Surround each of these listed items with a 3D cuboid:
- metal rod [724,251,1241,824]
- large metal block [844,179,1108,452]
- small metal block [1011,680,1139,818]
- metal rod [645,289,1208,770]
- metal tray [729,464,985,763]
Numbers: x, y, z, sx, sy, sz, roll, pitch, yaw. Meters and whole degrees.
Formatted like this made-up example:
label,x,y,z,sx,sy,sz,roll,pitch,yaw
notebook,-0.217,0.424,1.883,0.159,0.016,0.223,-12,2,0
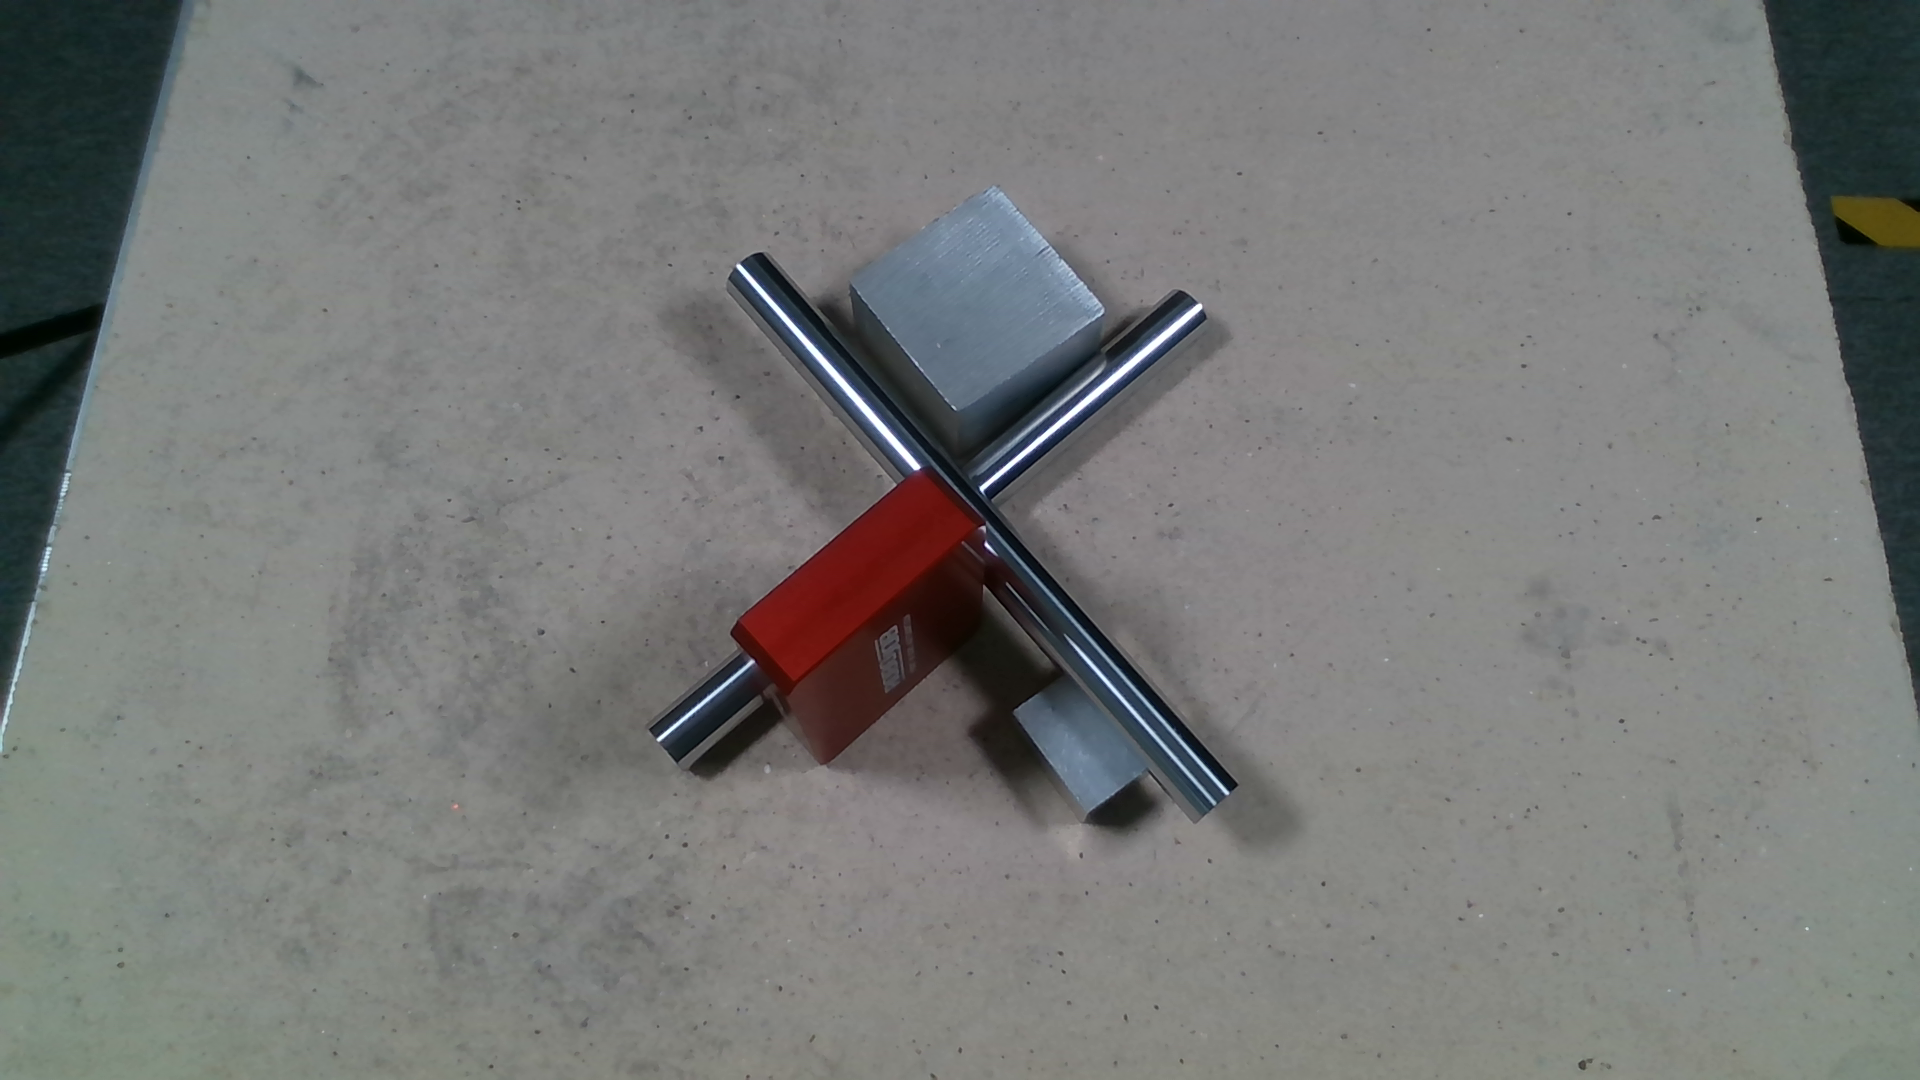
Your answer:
label,x,y,z,sx,sy,sz,roll,pitch,yaw
metal rod,0.002,-0.008,0.564,0.025,0.025,0.300,-38,75,-12
large metal block,0.006,-0.097,0.609,0.080,0.050,0.080,-35,74,-12
small metal block,0.056,0.078,0.560,0.050,0.025,0.050,-34,74,-11
metal rod,-0.008,-0.010,0.592,0.300,0.025,0.025,-40,75,-13
metal tray,-0.034,0.033,0.520,0.090,0.130,0.030,-41,74,-14
